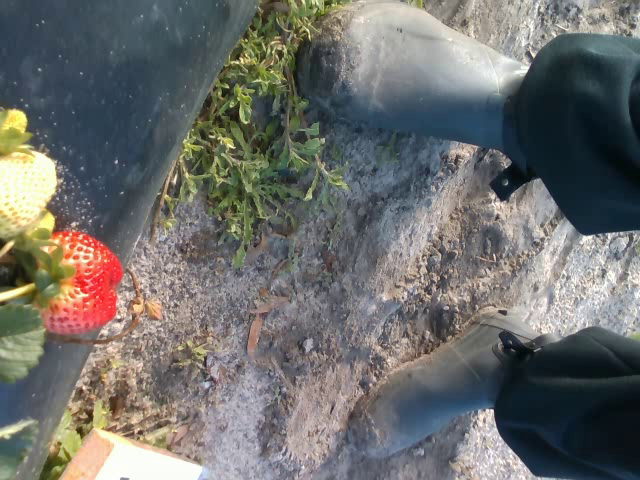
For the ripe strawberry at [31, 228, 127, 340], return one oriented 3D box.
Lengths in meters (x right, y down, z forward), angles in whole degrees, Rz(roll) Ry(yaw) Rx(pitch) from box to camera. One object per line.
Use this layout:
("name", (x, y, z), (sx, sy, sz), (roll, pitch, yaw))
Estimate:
("ripe strawberry", (-0.109, 0.024, 0.300), (0.035, 0.048, 0.050), (26, 1, 18))
